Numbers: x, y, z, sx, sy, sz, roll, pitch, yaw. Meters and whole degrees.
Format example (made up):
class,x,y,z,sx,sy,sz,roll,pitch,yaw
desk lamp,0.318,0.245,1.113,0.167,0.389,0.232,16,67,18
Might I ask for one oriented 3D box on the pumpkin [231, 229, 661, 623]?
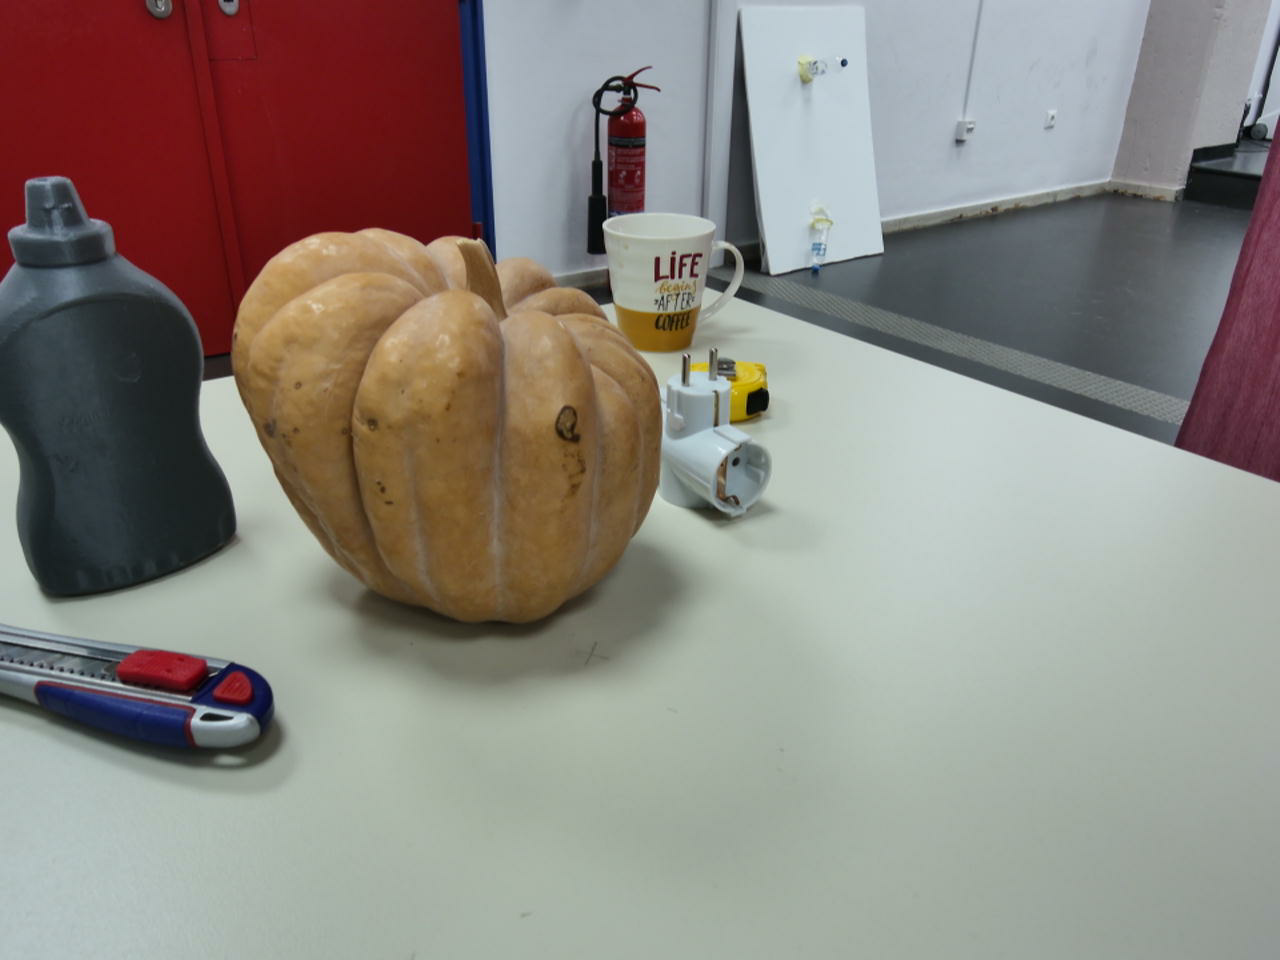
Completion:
class,x,y,z,sx,sy,sz,roll,pitch,yaw
pumpkin,-0.086,-0.027,0.467,0.199,0.177,0.198,1,25,0
